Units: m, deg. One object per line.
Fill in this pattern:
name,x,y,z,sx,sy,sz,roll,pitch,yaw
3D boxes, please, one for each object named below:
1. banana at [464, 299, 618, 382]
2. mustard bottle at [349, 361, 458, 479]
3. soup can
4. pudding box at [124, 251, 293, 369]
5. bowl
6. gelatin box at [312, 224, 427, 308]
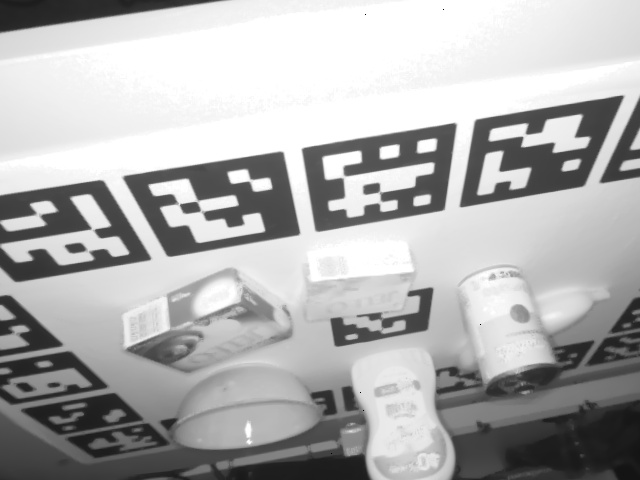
banana,0.223,0.111,0.750,0.075,0.039,0.194,11,141,-43
mustard bottle,0.091,0.226,0.722,0.096,0.192,0.058,-8,147,-3
soup can,0.181,0.086,0.632,0.068,0.102,0.067,-6,146,-3
pudding box,-0.093,0.063,0.594,0.113,0.039,0.090,-23,138,16
bowl,-0.090,0.175,0.744,0.162,0.055,0.160,-9,146,-5
gelatin box,0.040,0.023,0.583,0.090,0.030,0.072,-5,141,-9
